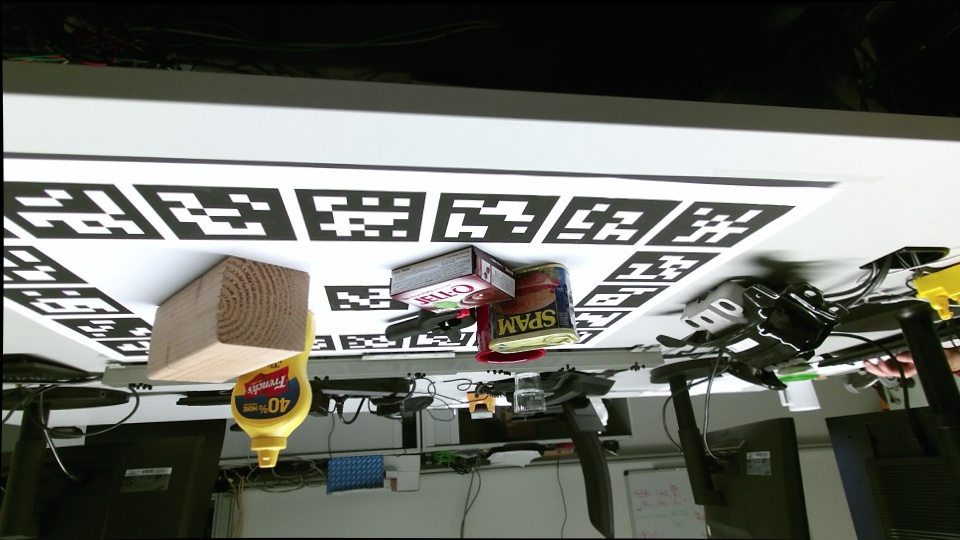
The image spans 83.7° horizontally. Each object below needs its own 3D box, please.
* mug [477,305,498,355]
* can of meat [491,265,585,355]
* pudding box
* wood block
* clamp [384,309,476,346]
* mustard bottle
[{"bbox_3d":[0.032,0.067,0.726,0.094,0.081,0.117,10,151,-30],"label":"mug"},{"bbox_3d":[0.063,0.048,0.620,0.102,0.083,0.058,-13,154,18],"label":"can of meat"},{"bbox_3d":[-0.033,0.015,0.594,0.114,0.038,0.090,-16,153,27],"label":"pudding box"},{"bbox_3d":[-0.290,0.063,0.602,0.206,0.090,0.090,-22,153,38],"label":"wood block"},{"bbox_3d":[-0.056,0.079,0.749,0.122,0.036,0.165,10,150,-27],"label":"clamp"},{"bbox_3d":[-0.261,0.156,0.680,0.096,0.190,0.058,-3,156,-6],"label":"mustard bottle"}]
